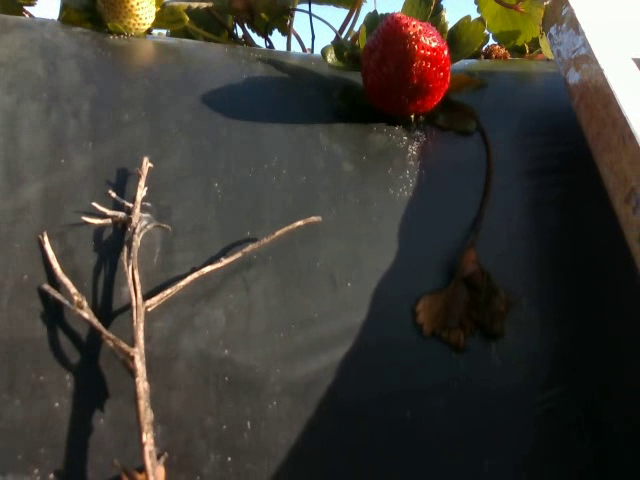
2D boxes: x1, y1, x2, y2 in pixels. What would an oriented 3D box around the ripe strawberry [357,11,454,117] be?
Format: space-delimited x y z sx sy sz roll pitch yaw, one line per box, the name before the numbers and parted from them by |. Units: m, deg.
ripe strawberry | 0.011 -0.023 0.077 0.015 0.015 0.023 11 -3 4
